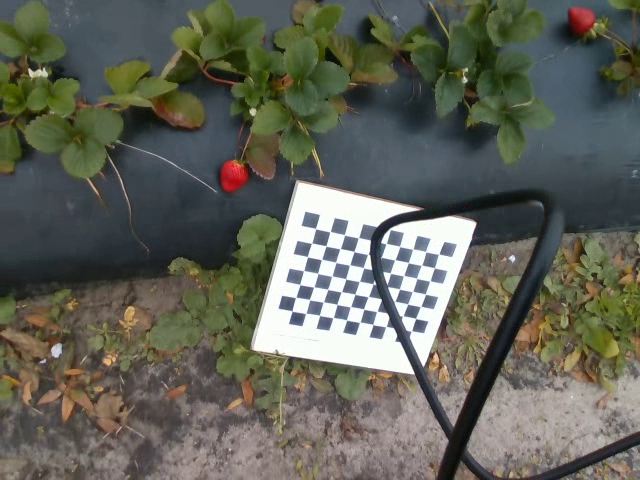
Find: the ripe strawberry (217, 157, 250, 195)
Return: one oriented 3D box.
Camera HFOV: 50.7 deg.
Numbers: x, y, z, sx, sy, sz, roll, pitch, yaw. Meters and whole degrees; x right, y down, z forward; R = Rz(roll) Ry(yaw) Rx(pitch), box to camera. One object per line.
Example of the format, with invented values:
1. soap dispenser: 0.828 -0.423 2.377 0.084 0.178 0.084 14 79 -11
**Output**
1. ripe strawberry: -0.082 -0.060 0.619 0.028 0.033 0.023 28 8 -15
